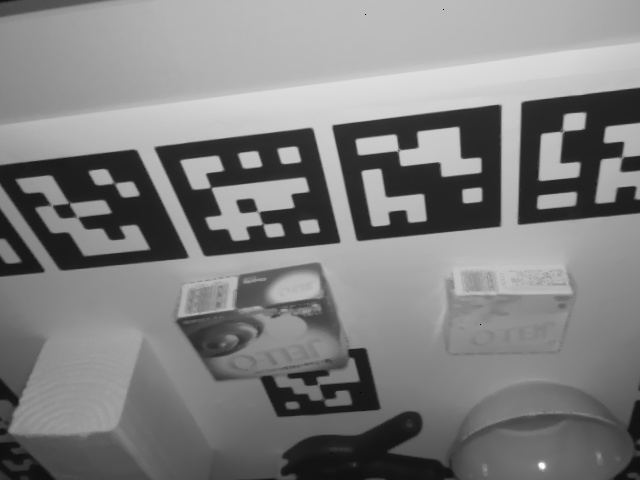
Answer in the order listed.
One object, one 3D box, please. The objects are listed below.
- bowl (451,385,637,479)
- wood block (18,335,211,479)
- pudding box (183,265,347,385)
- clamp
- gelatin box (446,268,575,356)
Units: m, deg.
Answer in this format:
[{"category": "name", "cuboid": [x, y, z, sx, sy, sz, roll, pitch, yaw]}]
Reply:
[{"category": "bowl", "cuboid": [0.201, 0.184, 0.642, 0.161, 0.056, 0.160, 2, 129, 3]}, {"category": "wood block", "cuboid": [-0.176, 0.189, 0.631, 0.089, 0.092, 0.205, -4, 131, 8]}, {"category": "pudding box", "cuboid": [-0.040, 0.069, 0.555, 0.113, 0.039, 0.089, -8, 126, 7]}, {"category": "clamp", "cuboid": [0.051, 0.225, 0.699, 0.164, 0.037, 0.121, -14, 130, 17]}, {"category": "gelatin box", "cuboid": [0.145, 0.058, 0.539, 0.089, 0.030, 0.072, 0, 130, 3]}]
